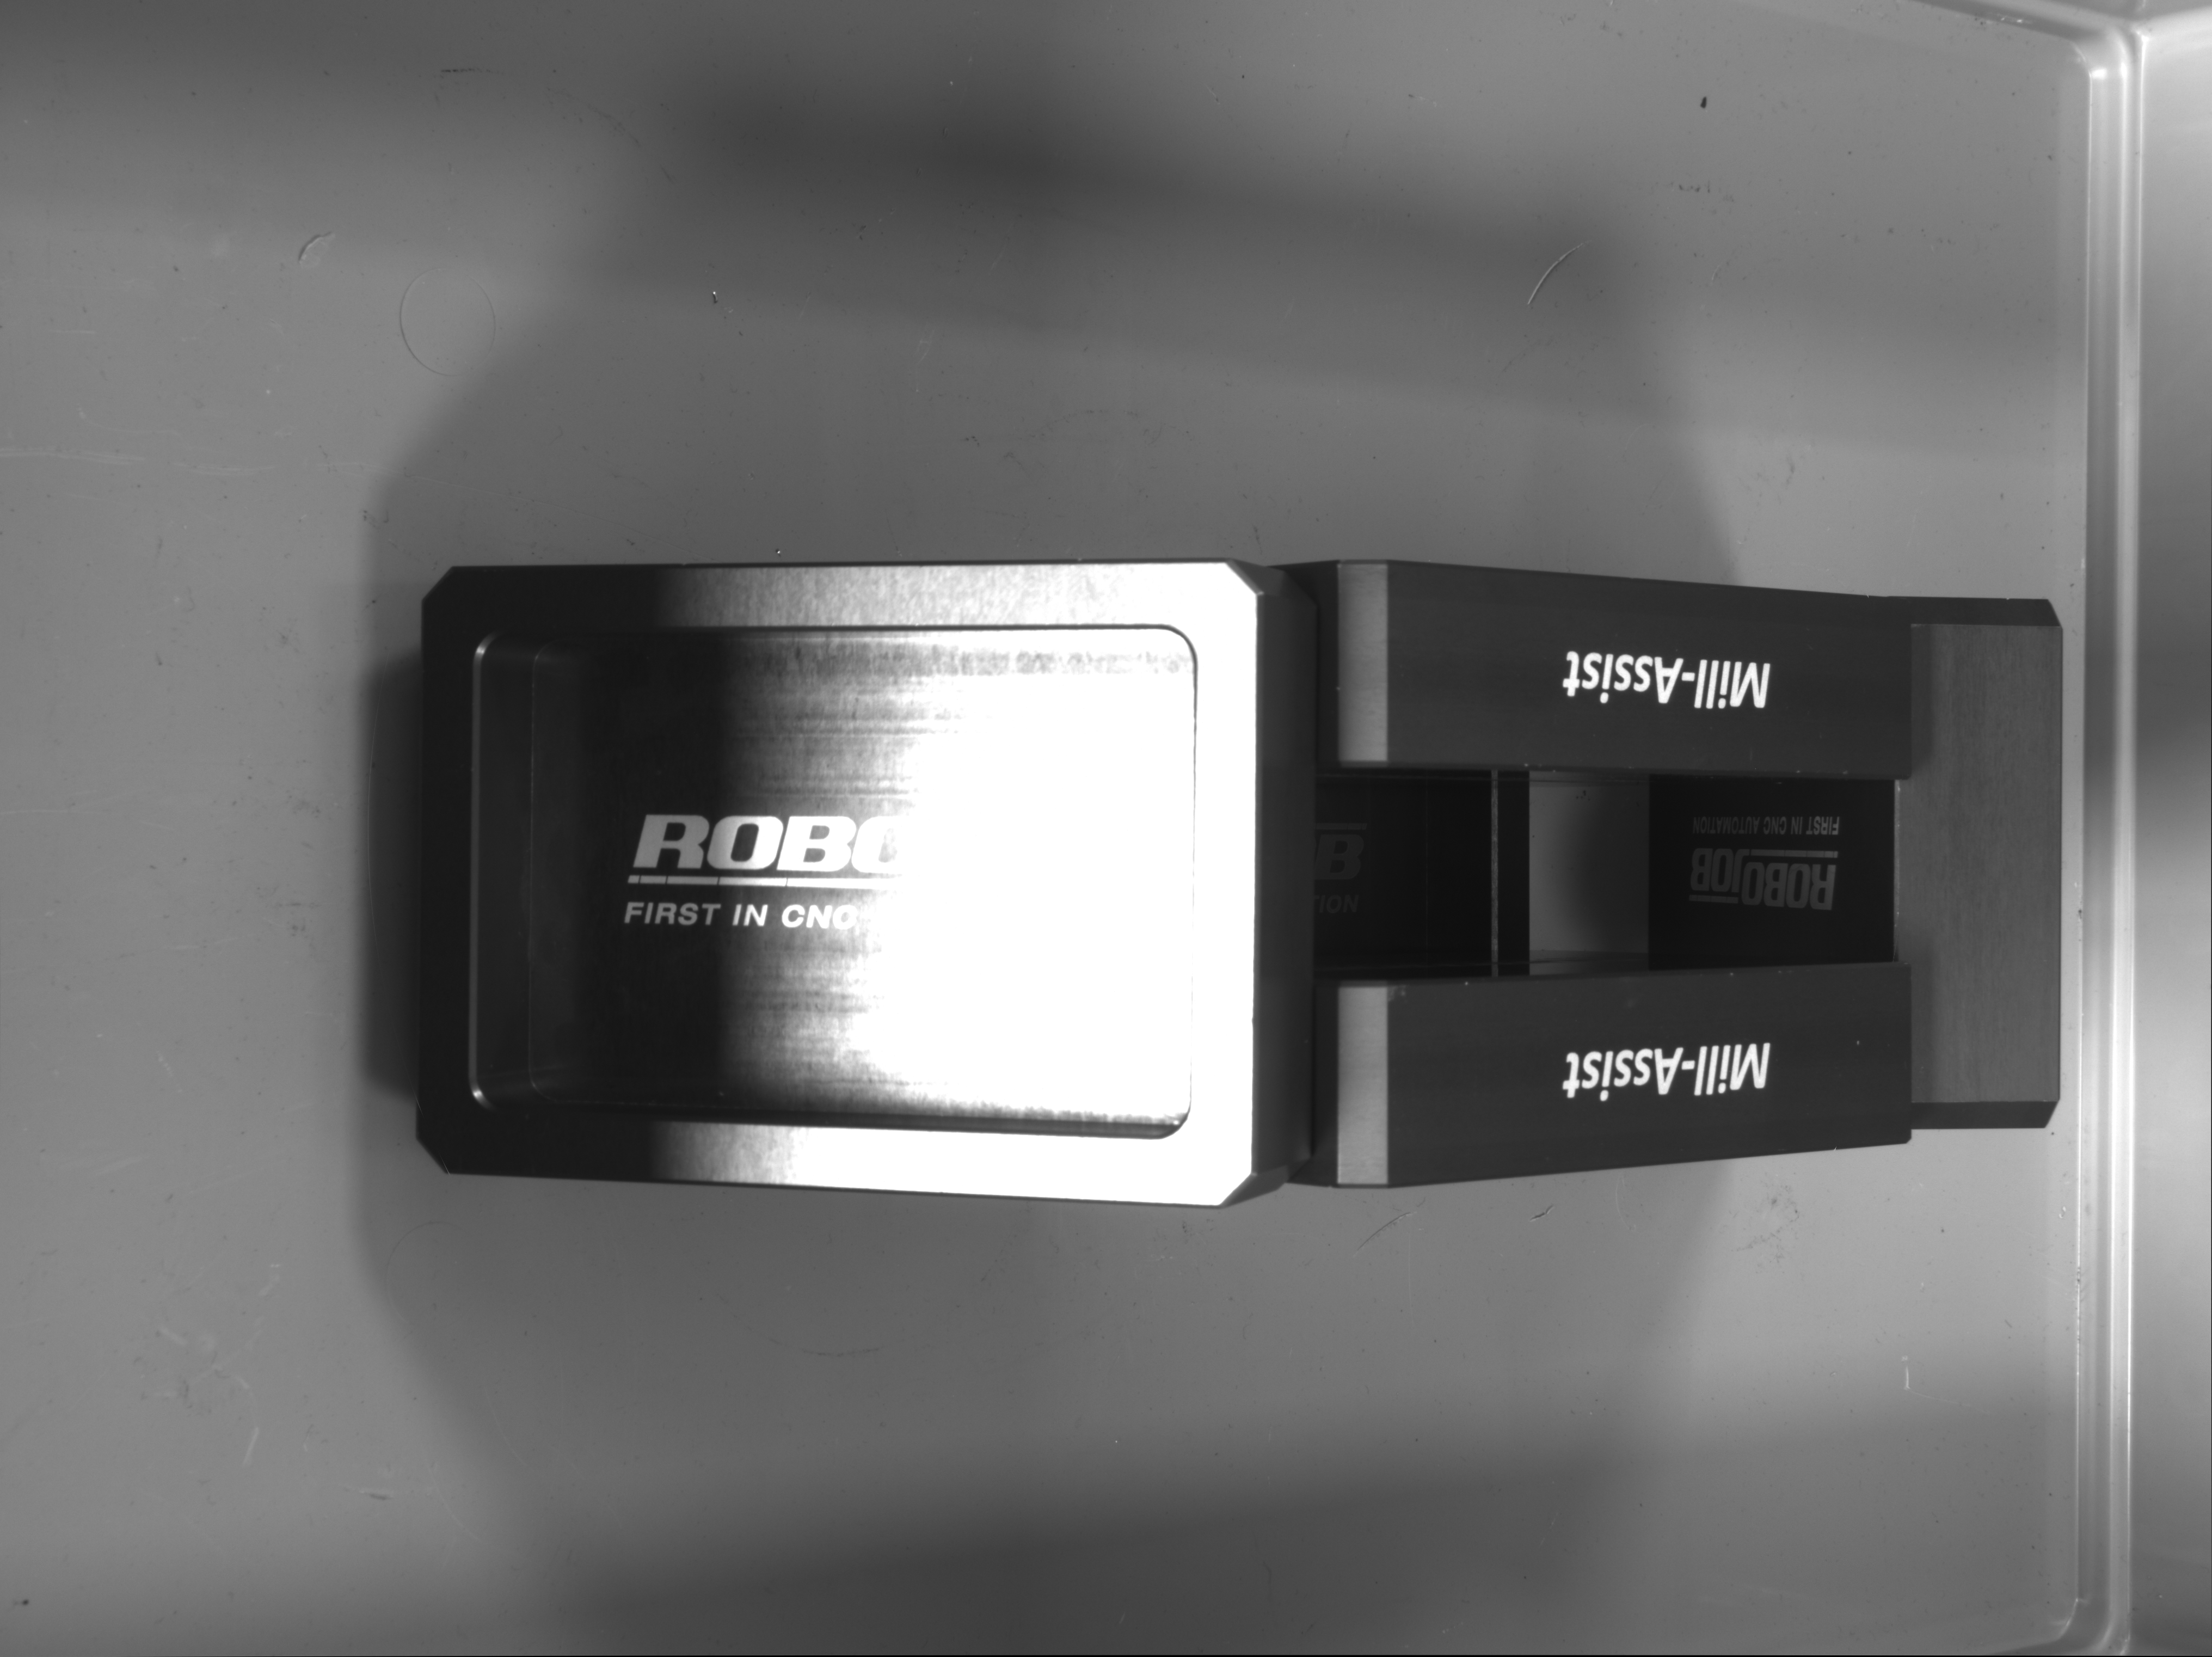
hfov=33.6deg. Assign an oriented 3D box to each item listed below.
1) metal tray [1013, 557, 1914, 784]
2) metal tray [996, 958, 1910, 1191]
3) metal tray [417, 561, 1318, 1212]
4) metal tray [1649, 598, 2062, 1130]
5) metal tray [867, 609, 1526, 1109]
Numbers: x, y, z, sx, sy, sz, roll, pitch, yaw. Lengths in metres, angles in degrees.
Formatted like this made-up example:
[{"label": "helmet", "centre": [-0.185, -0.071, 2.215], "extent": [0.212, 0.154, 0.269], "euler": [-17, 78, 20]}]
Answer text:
[{"label": "metal tray", "centre": [0.058, -0.023, 0.601], "extent": [0.131, 0.090, 0.030], "euler": [0, 89, -40]}, {"label": "metal tray", "centre": [0.058, 0.038, 0.601], "extent": [0.131, 0.090, 0.030], "euler": [0, 90, -40]}, {"label": "metal tray", "centre": [-0.036, 0.007, 0.539], "extent": [0.030, 0.130, 0.090], "euler": [1, 90, -72]}, {"label": "metal tray", "centre": [0.135, 0.006, 0.680], "extent": [0.030, 0.130, 0.090], "euler": [0, 90, -10]}, {"label": "metal tray", "centre": [0.019, 0.007, 0.647], "extent": [0.131, 0.030, 0.090], "euler": [0, 90, -40]}]
